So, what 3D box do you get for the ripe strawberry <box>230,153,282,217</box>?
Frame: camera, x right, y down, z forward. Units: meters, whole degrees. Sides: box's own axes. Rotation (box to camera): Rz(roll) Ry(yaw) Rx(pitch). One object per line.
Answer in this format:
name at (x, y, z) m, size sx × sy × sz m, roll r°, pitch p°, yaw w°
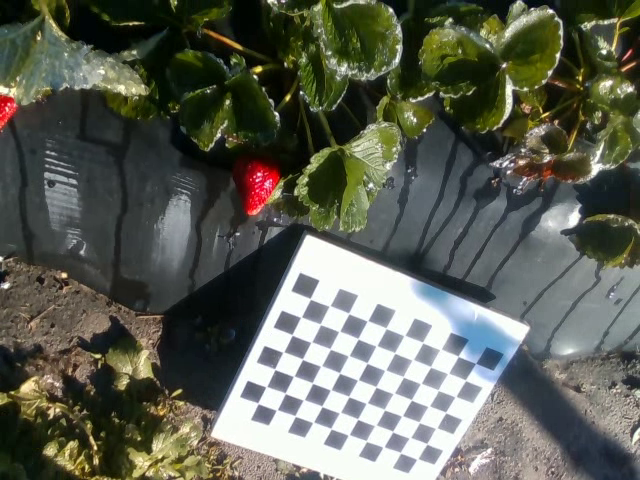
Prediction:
ripe strawberry at (-0.052, -0.043, 0.467) m, size 0.041 × 0.053 × 0.047 m, roll 16°, pitch -20°, yaw -11°
